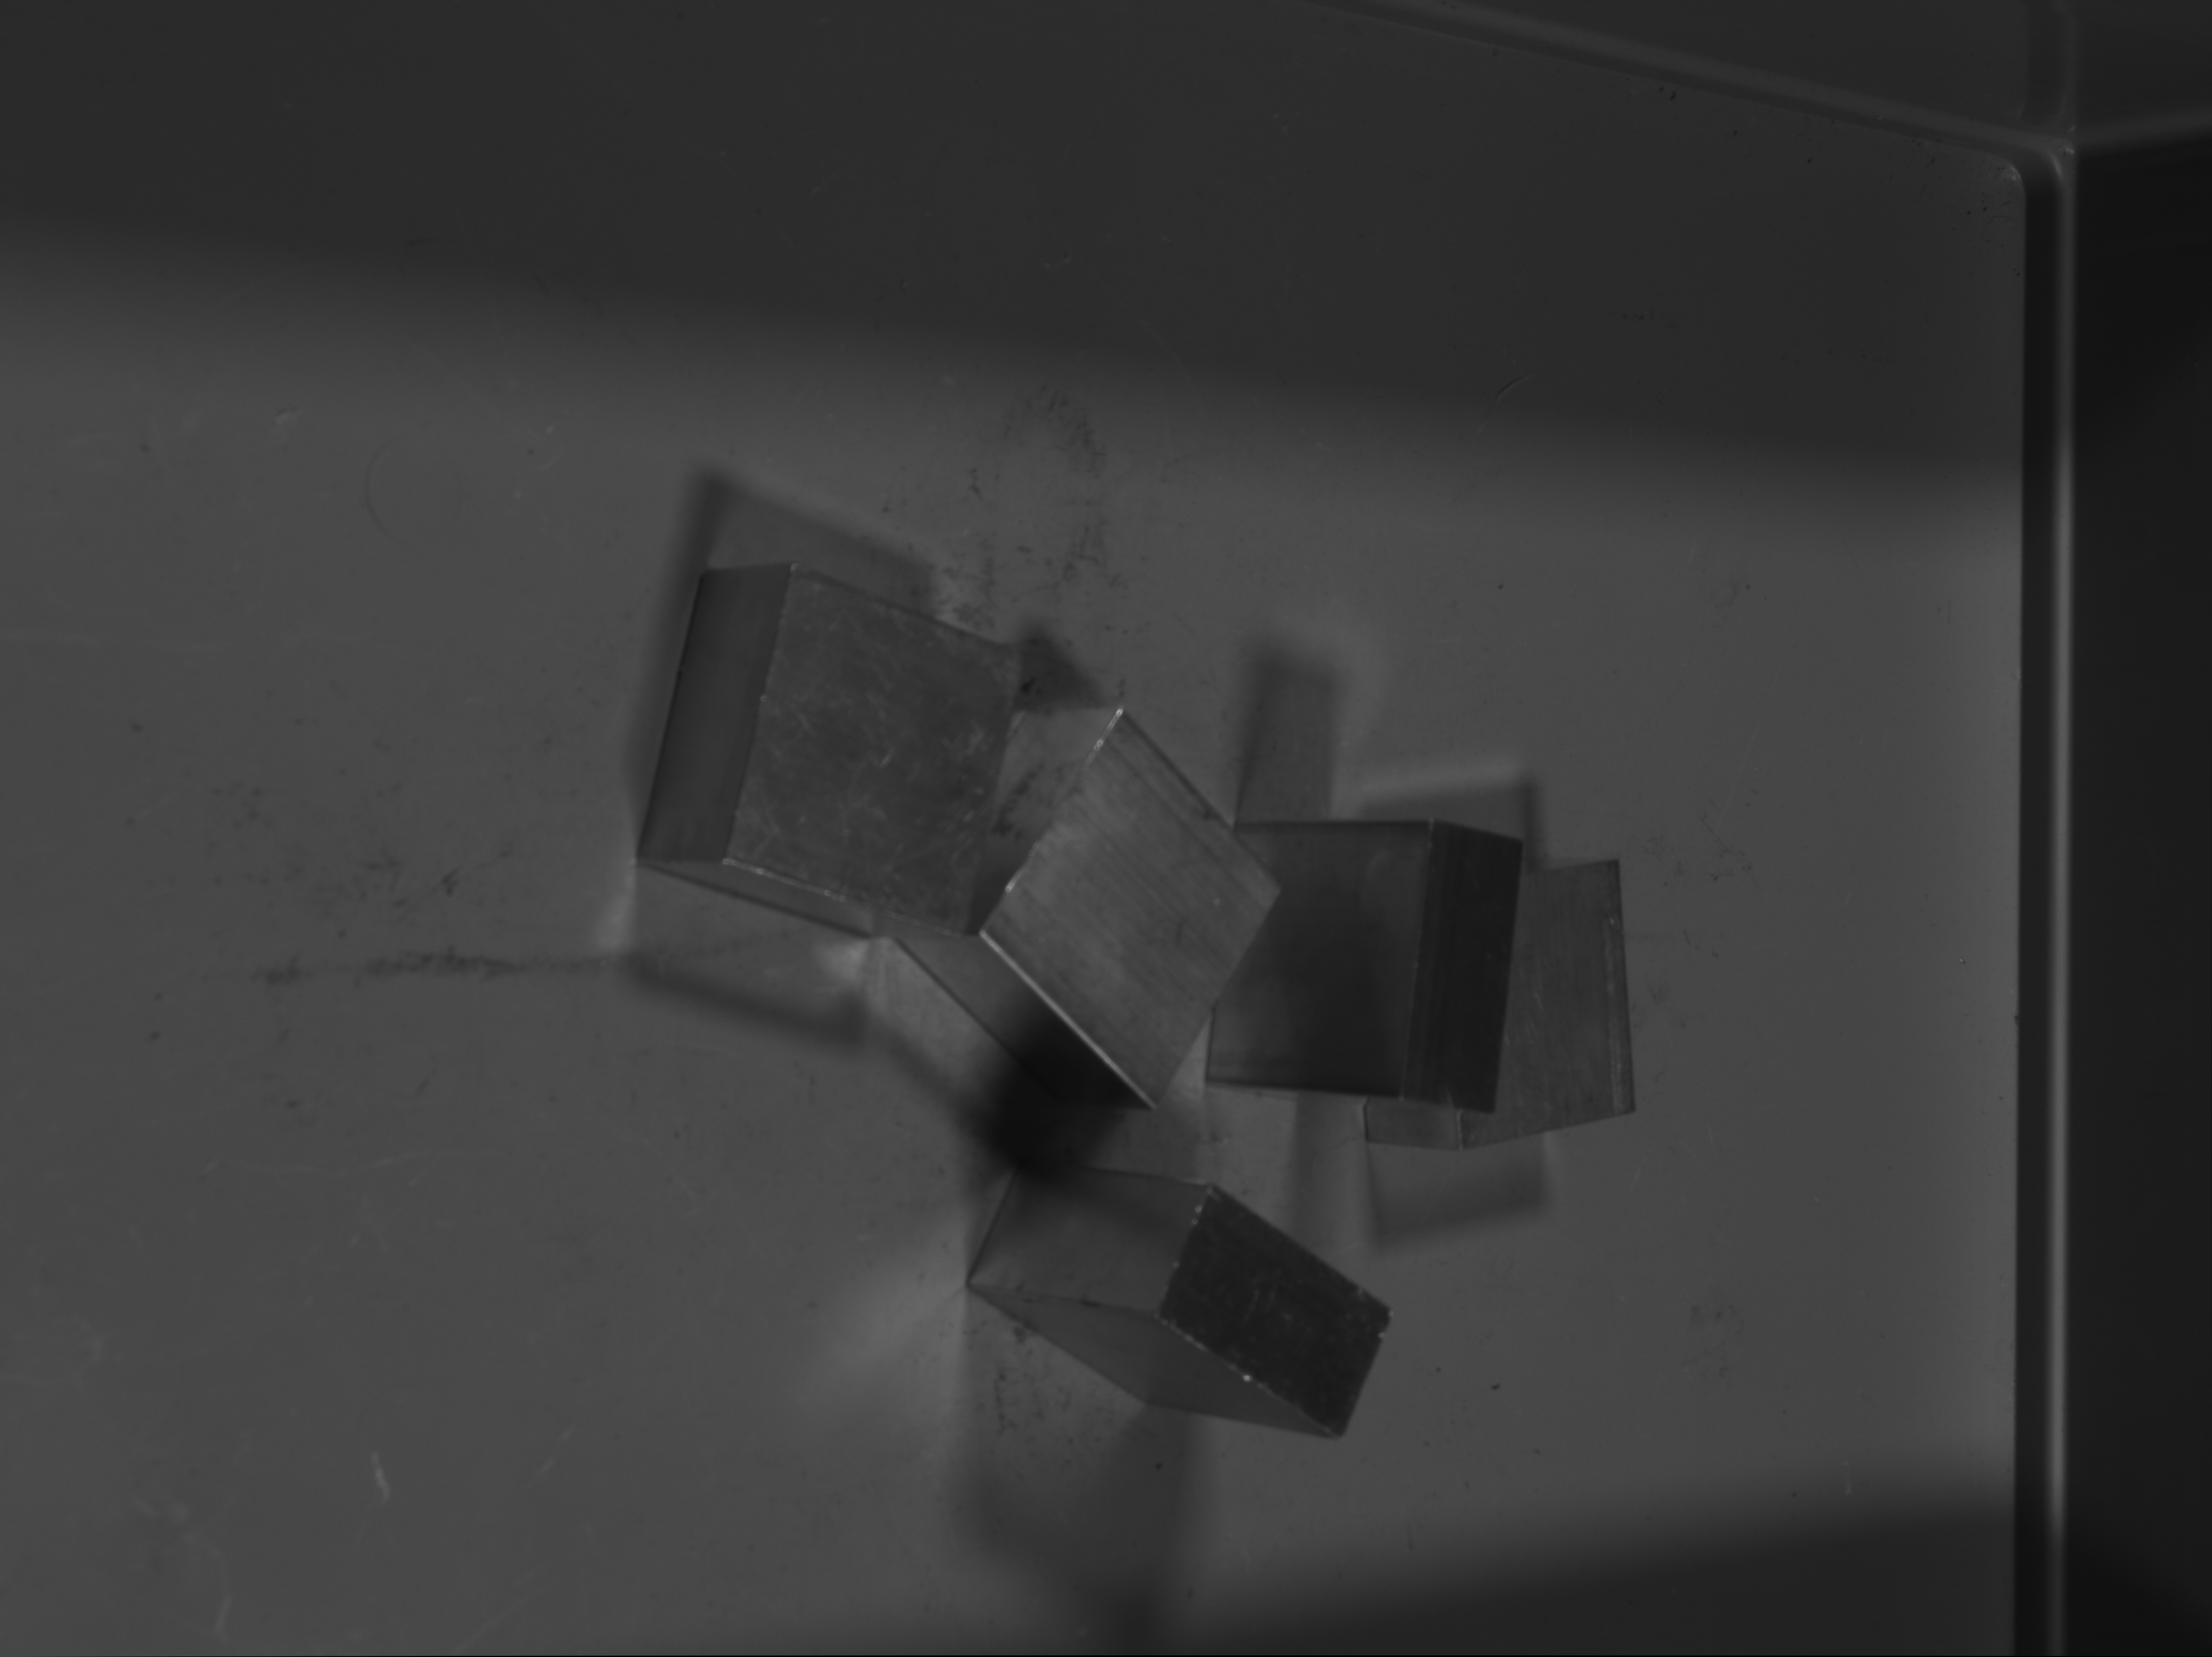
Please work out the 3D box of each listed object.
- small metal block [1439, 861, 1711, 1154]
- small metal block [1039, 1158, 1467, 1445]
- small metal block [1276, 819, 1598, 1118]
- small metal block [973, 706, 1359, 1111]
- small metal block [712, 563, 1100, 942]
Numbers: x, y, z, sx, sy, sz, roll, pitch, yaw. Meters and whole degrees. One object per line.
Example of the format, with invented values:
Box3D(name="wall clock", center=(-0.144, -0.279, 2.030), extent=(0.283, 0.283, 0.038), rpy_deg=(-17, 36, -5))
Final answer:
Box3D(name="small metal block", center=(0.089, 0.034, 0.709), extent=(0.050, 0.025, 0.050), rpy_deg=(-7, 95, -40))
Box3D(name="small metal block", center=(0.026, 0.082, 0.640), extent=(0.050, 0.050, 0.025), rpy_deg=(38, 68, -34))
Box3D(name="small metal block", center=(0.060, 0.025, 0.669), extent=(0.025, 0.050, 0.050), rpy_deg=(12, 82, -40))
Box3D(name="small metal block", center=(0.010, 0.014, 0.643), extent=(0.050, 0.025, 0.050), rpy_deg=(46, 62, -30))
Box3D(name="small metal block", center=(-0.033, -0.012, 0.607), extent=(0.050, 0.025, 0.050), rpy_deg=(20, 78, -38))
